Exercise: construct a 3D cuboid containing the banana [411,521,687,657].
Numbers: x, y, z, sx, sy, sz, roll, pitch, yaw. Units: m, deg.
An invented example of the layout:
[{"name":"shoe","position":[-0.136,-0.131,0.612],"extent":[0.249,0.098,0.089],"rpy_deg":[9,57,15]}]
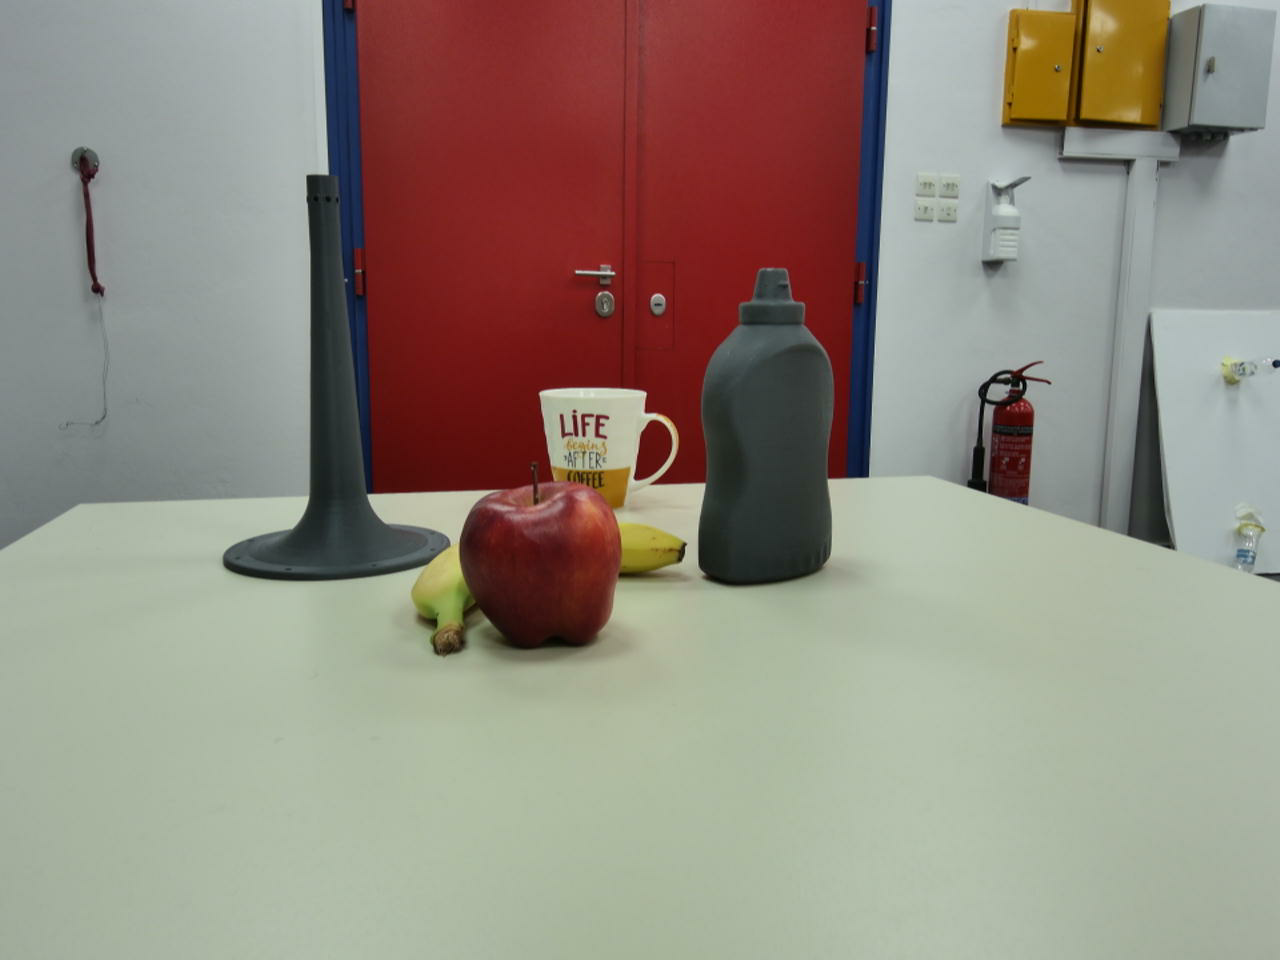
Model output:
[{"name":"banana","position":[-0.065,0.052,0.584],"extent":[0.094,0.041,0.196],"rpy_deg":[7,10,41]}]
